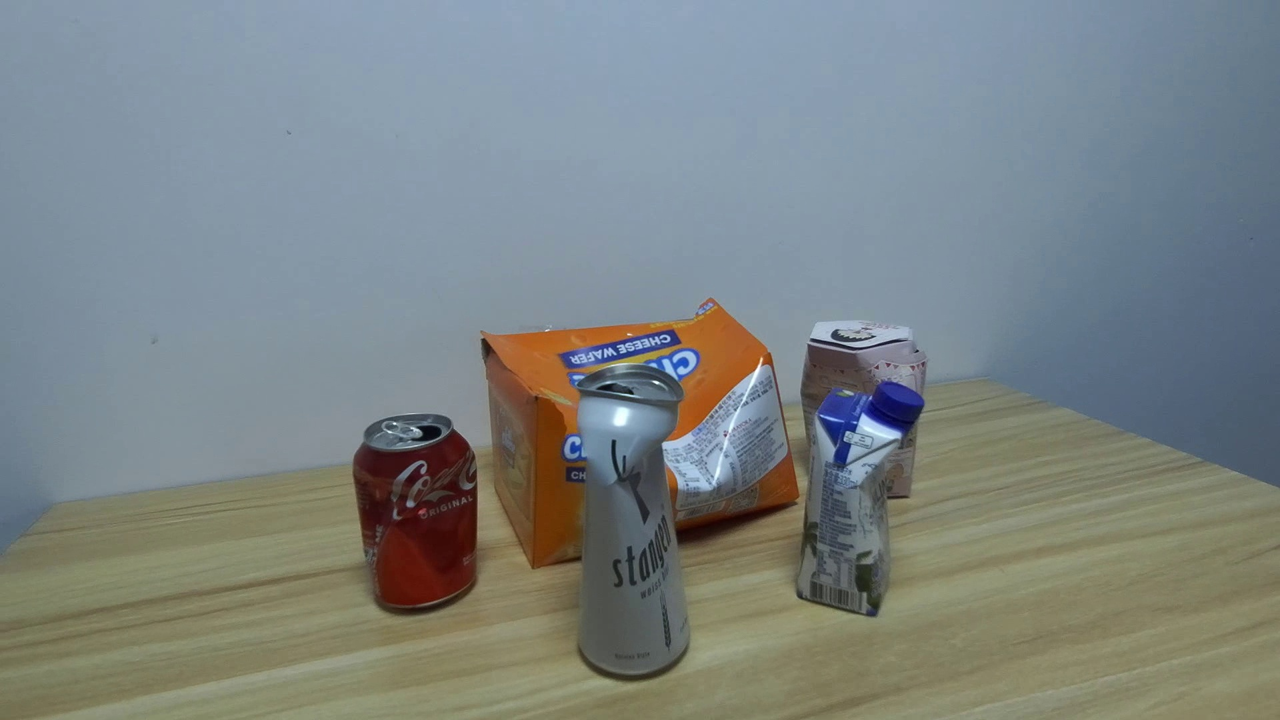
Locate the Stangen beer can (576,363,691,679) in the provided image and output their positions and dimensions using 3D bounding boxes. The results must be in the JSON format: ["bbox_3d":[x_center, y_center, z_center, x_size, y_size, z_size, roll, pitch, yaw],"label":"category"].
[{"bbox_3d":[-0.005,0.088,0.387,0.066,0.162,0.077,-9,18,-24],"label":"Stangen beer can"}]

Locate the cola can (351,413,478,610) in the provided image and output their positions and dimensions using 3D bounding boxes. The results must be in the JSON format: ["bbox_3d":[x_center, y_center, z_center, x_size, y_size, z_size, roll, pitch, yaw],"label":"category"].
[{"bbox_3d":[-0.144,0.096,0.455,0.065,0.117,0.067,8,18,28],"label":"cola can"}]

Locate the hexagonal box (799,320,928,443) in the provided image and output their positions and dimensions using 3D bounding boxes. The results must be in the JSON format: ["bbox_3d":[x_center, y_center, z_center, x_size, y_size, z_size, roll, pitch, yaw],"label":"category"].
[{"bbox_3d":[0.181,0.041,0.582,0.090,0.134,0.091,-5,17,1],"label":"hexagonal box"}]

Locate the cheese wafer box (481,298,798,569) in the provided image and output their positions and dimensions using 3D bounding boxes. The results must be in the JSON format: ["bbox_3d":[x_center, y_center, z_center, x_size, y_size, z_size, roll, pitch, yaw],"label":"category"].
[{"bbox_3d":[0.003,0.046,0.560,0.220,0.145,0.190,-8,18,-22],"label":"cheese wafer box"}]
